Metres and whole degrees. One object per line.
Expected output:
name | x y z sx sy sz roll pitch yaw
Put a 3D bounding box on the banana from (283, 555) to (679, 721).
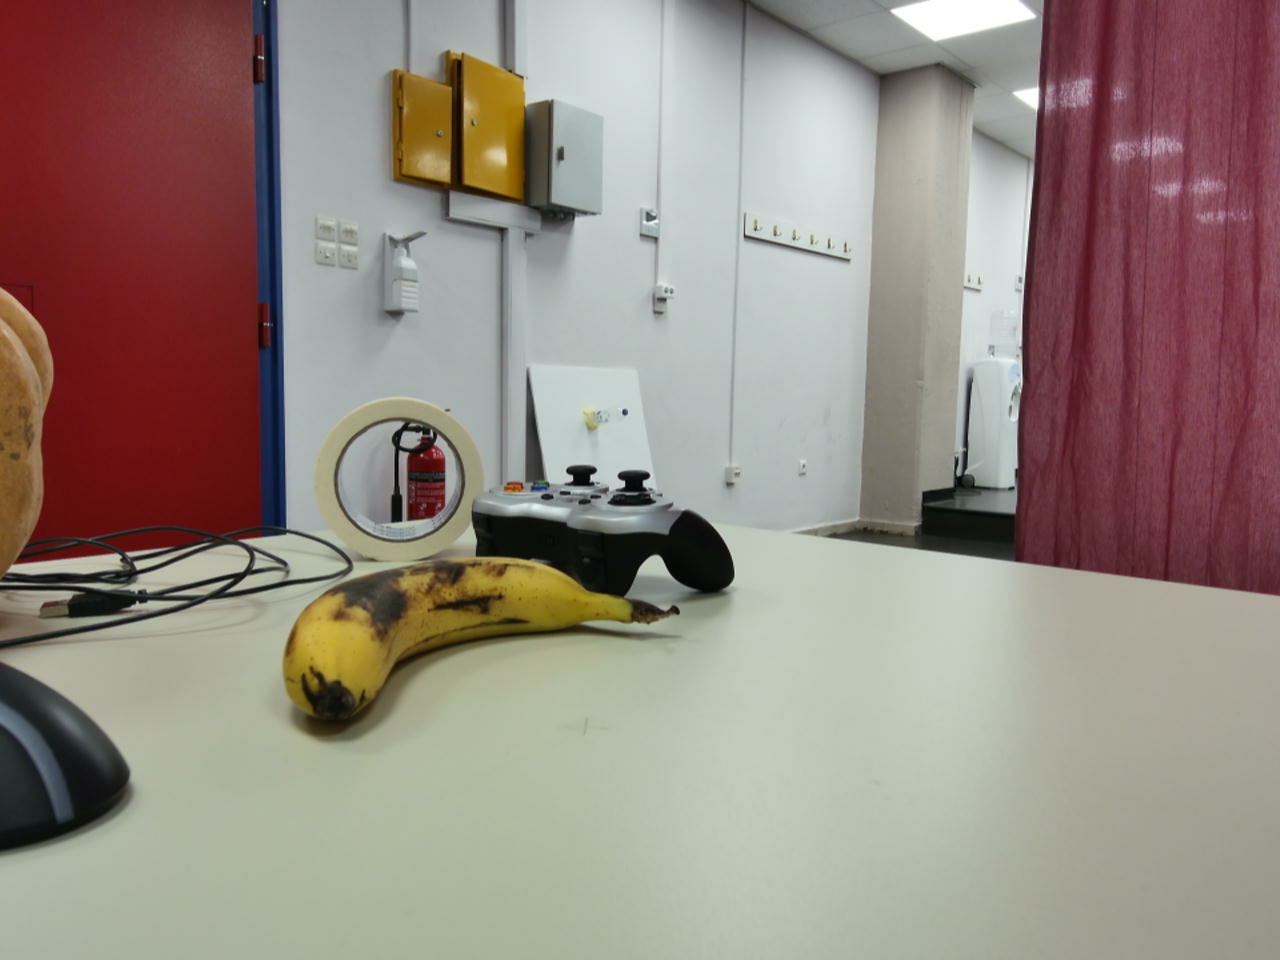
banana | -0.079 0.058 0.421 0.094 0.039 0.187 2 5 37
